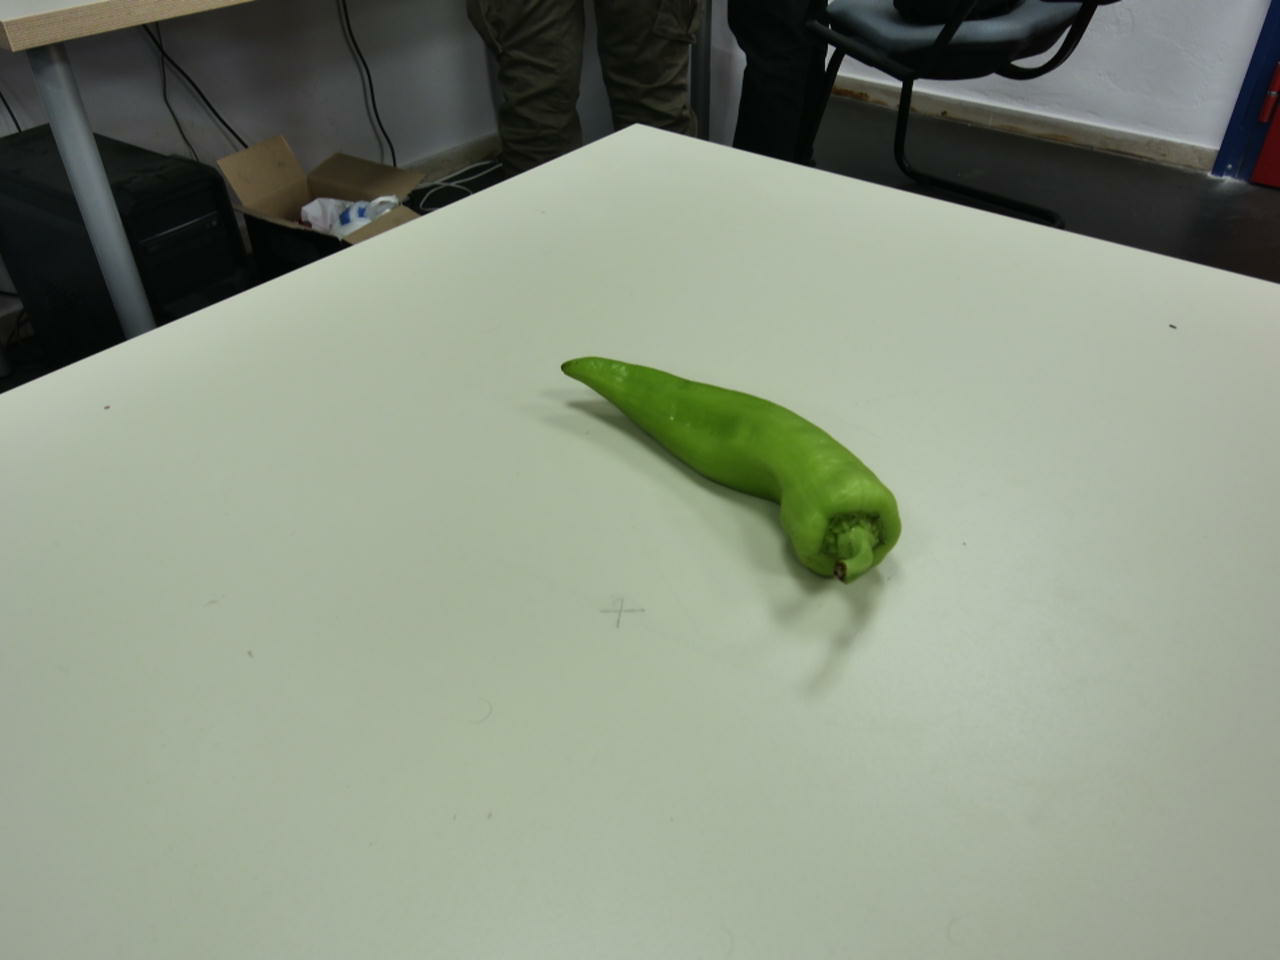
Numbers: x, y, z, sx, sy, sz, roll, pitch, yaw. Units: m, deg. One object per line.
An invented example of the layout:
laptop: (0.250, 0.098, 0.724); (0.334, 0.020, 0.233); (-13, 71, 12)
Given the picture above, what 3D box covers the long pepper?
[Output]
long pepper: (0.043, -0.016, 0.449); (0.065, 0.045, 0.204); (-22, 41, -26)
